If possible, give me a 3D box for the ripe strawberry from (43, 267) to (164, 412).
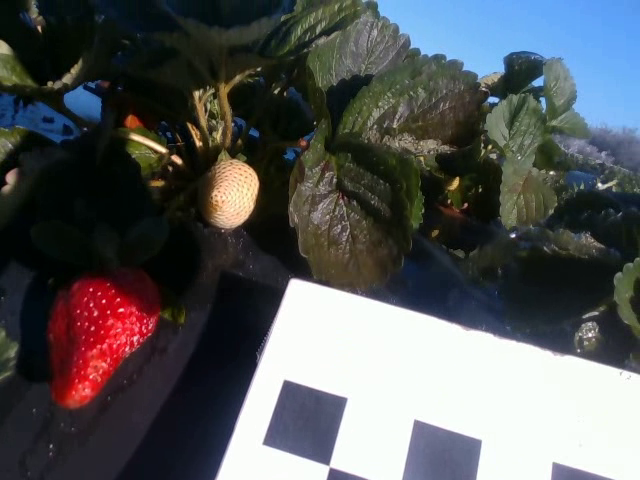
[{"bbox_3d":[-0.084,0.036,0.226,0.048,0.068,0.040,-1,-41,-2],"label":"ripe strawberry"}]
